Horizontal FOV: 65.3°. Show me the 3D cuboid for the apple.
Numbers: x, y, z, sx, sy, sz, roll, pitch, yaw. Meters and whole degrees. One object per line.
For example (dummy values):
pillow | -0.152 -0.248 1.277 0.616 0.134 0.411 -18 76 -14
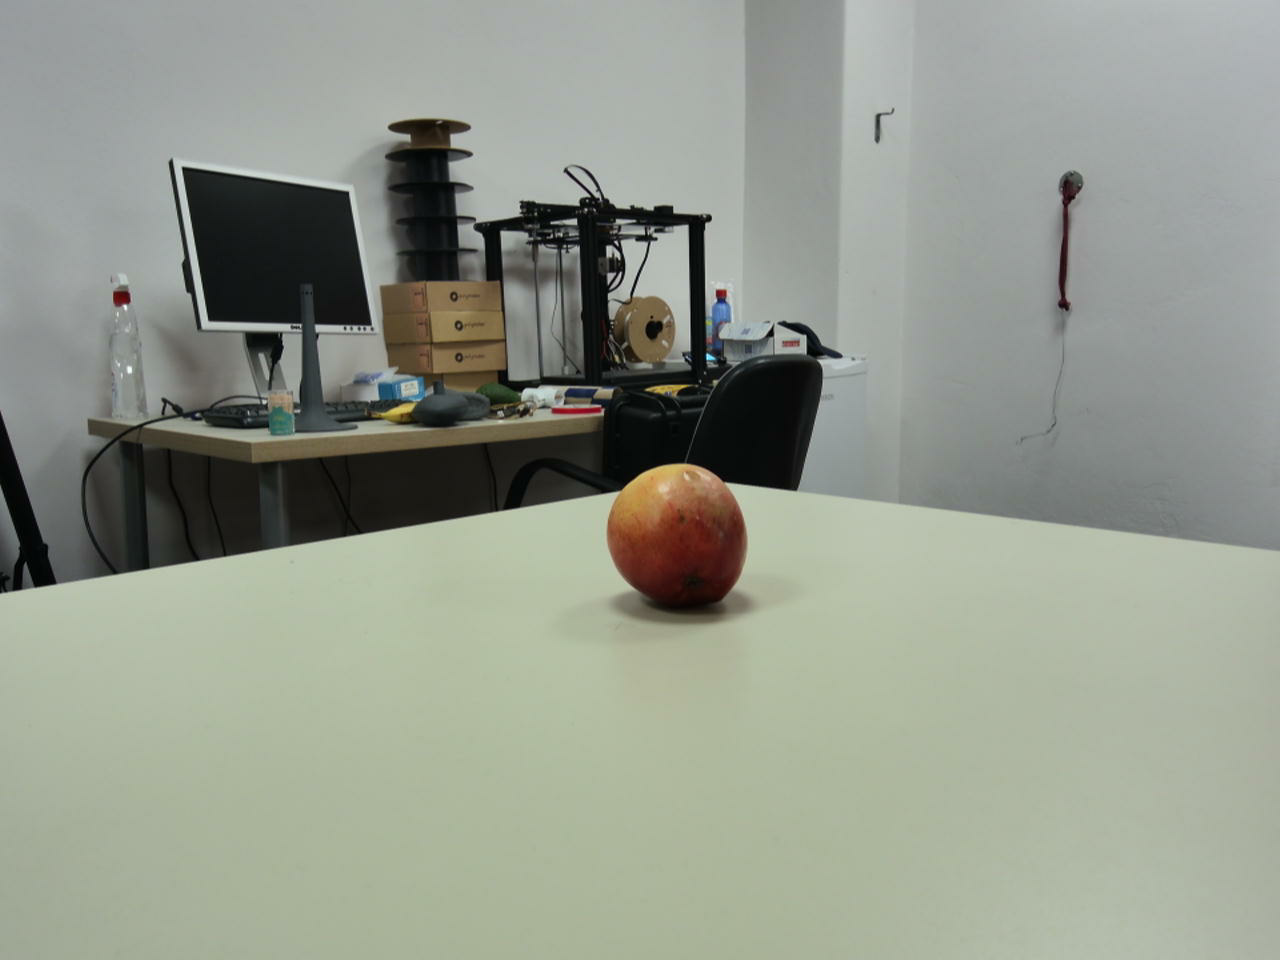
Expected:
apple | 0.023 0.033 0.618 0.086 0.084 0.093 1 7 11
